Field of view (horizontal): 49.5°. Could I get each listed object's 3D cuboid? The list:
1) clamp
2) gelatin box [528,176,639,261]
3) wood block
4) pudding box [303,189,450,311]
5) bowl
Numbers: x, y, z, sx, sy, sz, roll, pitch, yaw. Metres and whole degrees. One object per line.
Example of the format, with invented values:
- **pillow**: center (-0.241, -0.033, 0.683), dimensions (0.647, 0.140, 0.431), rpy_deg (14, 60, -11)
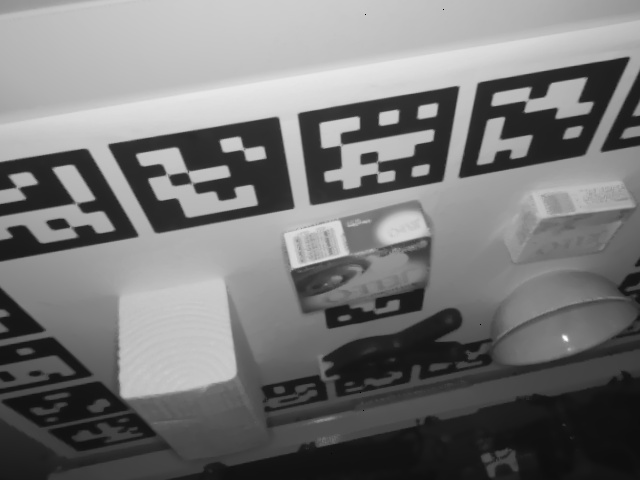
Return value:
- **clamp**: center (0.110, 0.124, 0.754), dimensions (0.165, 0.037, 0.121), rpy_deg (-15, 144, 6)
- **gelatin box**: center (0.231, -0.018, 0.588), dimensions (0.090, 0.030, 0.072), rpy_deg (-5, 142, -10)
- **wood block**: center (-0.098, 0.124, 0.630), dimensions (0.090, 0.091, 0.204), rpy_deg (-8, 144, -4)
- **pudding box**: center (0.047, 0.009, 0.564), dimensions (0.114, 0.039, 0.089), rpy_deg (-12, 140, -4)
- **bowl**: center (0.268, 0.081, 0.725), dimensions (0.162, 0.055, 0.160), rpy_deg (-7, 141, -5)
